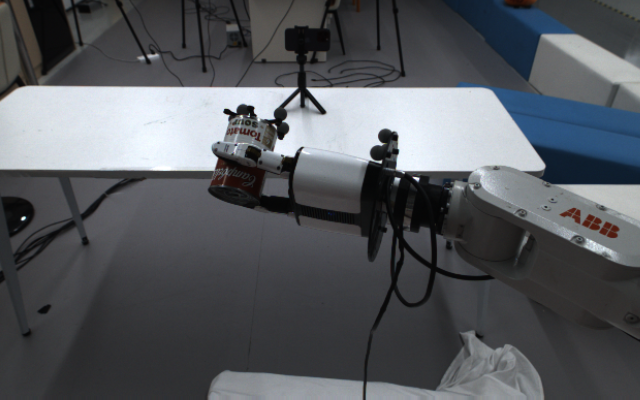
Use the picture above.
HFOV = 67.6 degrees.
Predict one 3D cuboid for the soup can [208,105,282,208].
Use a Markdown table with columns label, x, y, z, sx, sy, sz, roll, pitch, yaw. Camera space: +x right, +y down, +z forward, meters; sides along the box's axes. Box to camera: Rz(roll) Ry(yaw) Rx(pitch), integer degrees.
| label | x | y | z | sx | sy | sz | roll | pitch | yaw |
| --- | --- | --- | --- | --- | --- | --- | --- | --- | --- |
| soup can | -0.098 | -0.050 | 0.629 | 0.067 | 0.067 | 0.101 | 9 | 72 | 10 |
